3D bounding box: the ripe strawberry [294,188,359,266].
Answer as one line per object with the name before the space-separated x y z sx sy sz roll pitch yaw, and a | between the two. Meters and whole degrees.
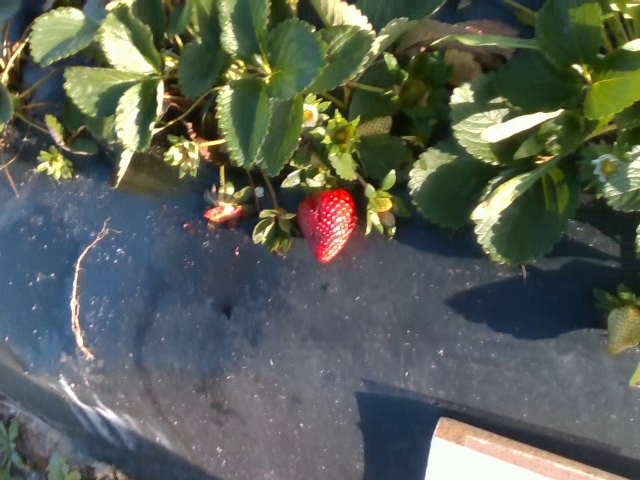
ripe strawberry | 0.003 -0.007 0.416 0.052 0.051 0.041 -16 -40 32
